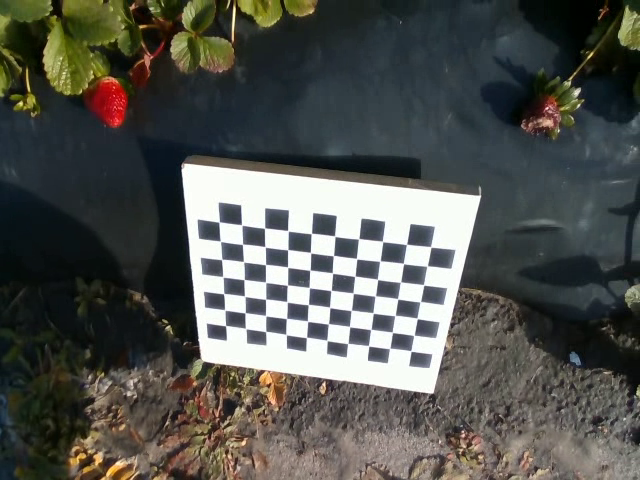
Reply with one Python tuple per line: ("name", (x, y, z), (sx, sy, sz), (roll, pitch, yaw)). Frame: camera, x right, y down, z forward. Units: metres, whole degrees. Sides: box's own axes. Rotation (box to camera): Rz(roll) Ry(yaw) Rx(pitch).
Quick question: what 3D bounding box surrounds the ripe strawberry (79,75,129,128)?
("ripe strawberry", (-0.198, -0.125, 0.569), (0.040, 0.056, 0.040), (-39, -24, 33))
